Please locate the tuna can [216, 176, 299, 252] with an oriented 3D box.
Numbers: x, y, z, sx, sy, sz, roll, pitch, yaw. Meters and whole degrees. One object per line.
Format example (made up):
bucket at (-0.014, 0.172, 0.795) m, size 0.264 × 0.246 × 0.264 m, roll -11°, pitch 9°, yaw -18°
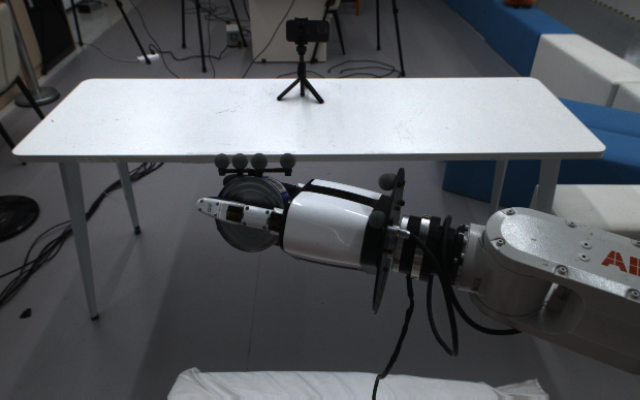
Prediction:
tuna can at (-0.072, 0.015, 0.552) m, size 0.085 × 0.085 × 0.034 m, roll 12°, pitch 8°, yaw 14°
